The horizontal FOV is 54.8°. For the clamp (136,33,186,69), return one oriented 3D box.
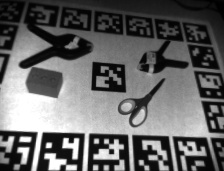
[{"bbox_3d":[0.152,-0.101,0.709,0.166,0.036,0.121,-23,76,-20],"label":"clamp"}]

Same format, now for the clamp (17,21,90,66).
[{"bbox_3d":[-0.170,-0.128,0.656,0.204,0.036,0.164,0,59,-12],"label":"clamp"}]

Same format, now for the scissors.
[{"bbox_3d":[0.092,0.025,0.633,0.087,0.016,0.204,42,61,3],"label":"scissors"}]

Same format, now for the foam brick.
[{"bbox_3d":[-0.184,-0.011,0.585,0.078,0.051,0.052,8,62,-1],"label":"foam brick"}]
